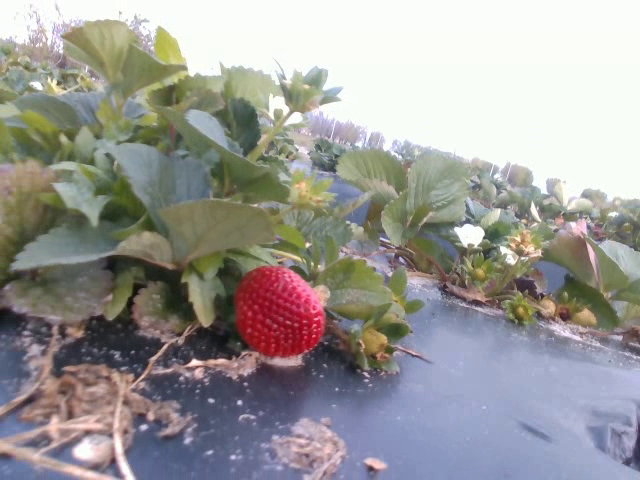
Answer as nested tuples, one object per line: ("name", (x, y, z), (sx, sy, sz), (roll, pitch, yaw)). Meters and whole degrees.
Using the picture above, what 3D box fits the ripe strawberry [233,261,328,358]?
("ripe strawberry", (-0.014, 0.028, 0.265), (0.043, 0.047, 0.046), (-24, 14, -35))
